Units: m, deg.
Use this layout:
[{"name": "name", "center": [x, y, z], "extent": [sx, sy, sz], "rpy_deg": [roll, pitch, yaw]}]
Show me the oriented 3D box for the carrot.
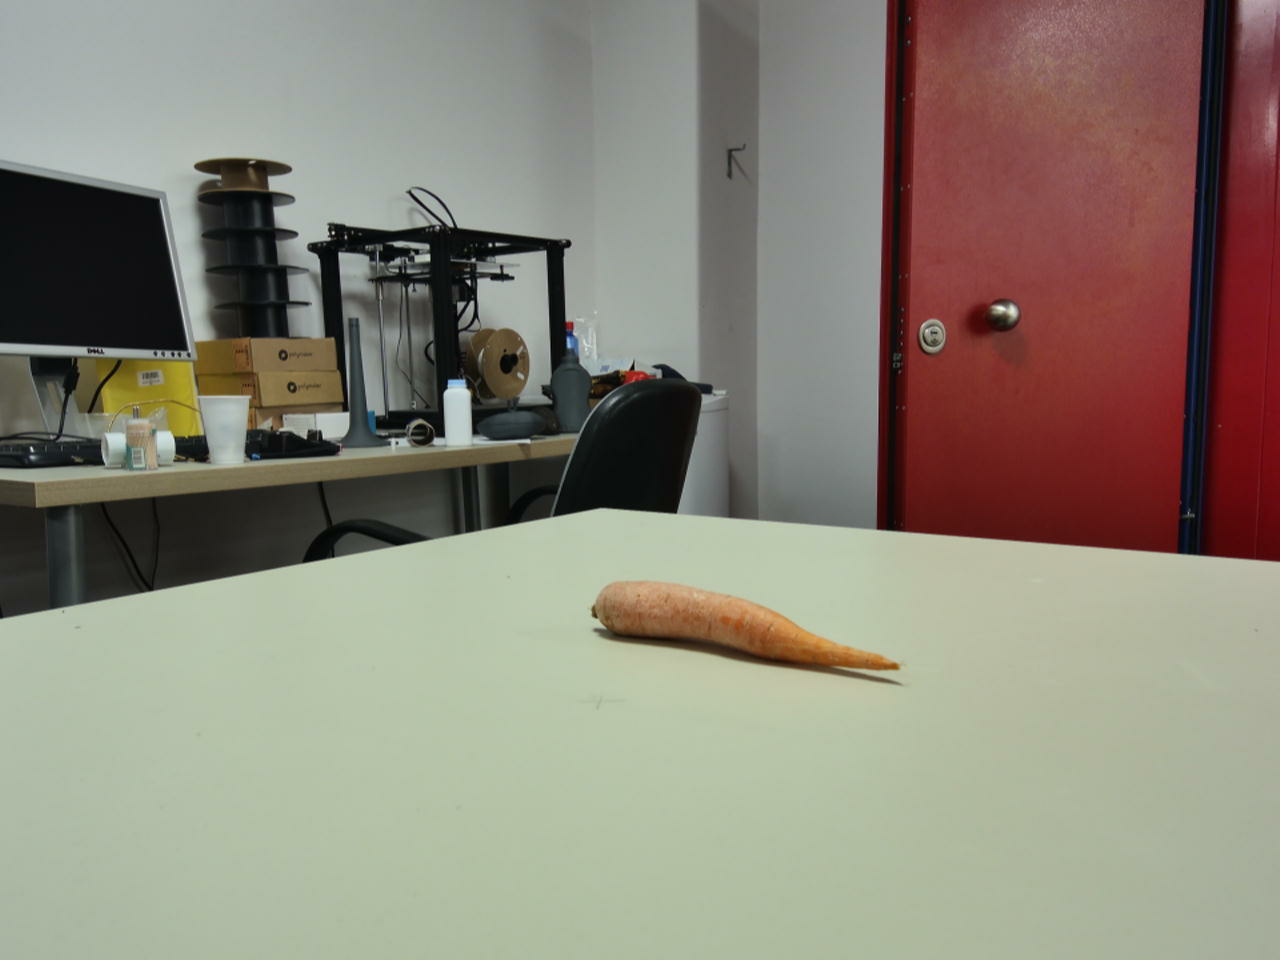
[{"name": "carrot", "center": [0.041, 0.066, 0.459], "extent": [0.163, 0.029, 0.031], "rpy_deg": [3, 5, 37]}]
